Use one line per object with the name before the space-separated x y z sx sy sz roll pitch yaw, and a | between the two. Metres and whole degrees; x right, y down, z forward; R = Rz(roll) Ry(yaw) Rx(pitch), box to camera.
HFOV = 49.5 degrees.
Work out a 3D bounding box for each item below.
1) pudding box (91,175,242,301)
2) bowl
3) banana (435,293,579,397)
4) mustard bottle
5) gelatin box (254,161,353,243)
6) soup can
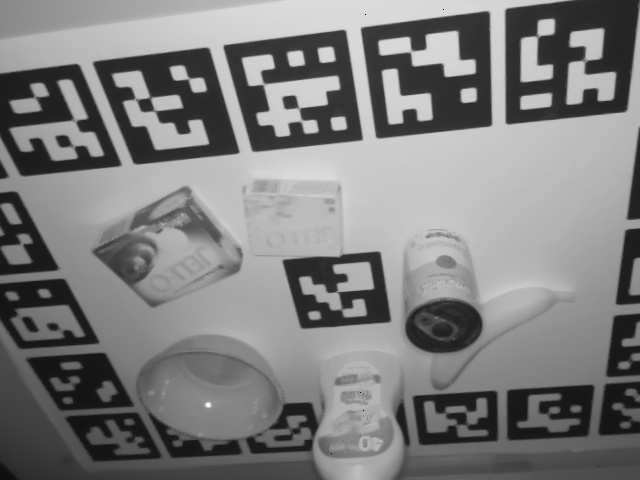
pudding box | -0.147 -0.001 0.675 0.112 0.039 0.090 -24 116 19
bowl | -0.131 0.152 0.783 0.162 0.055 0.160 0 127 1
banana | 0.181 0.111 0.742 0.075 0.039 0.194 25 125 -27
mustard bottle | 0.035 0.205 0.710 0.096 0.193 0.058 -3 129 7
gelatin box | -0.015 -0.034 0.649 0.089 0.030 0.072 2 124 1
soup can | 0.124 0.049 0.648 0.068 0.103 0.067 3 129 4
